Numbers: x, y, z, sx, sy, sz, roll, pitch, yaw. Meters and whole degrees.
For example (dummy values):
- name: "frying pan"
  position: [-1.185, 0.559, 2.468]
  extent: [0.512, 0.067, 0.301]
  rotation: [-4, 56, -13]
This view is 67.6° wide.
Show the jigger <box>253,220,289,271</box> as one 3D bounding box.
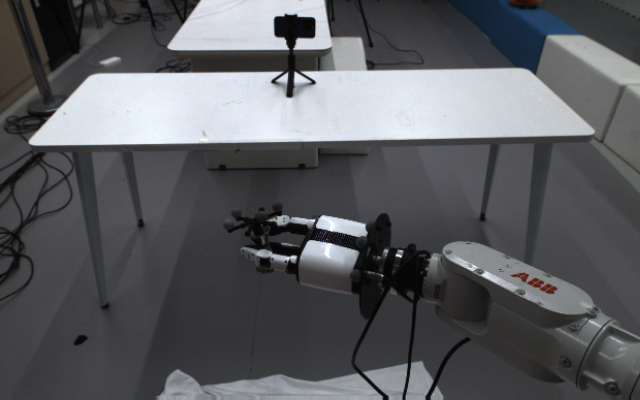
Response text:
- name: "jigger"
  position: [-0.090, 0.079, 0.778]
  extent: [0.043, 0.071, 0.043]
  rotation: [-12, 24, 5]
